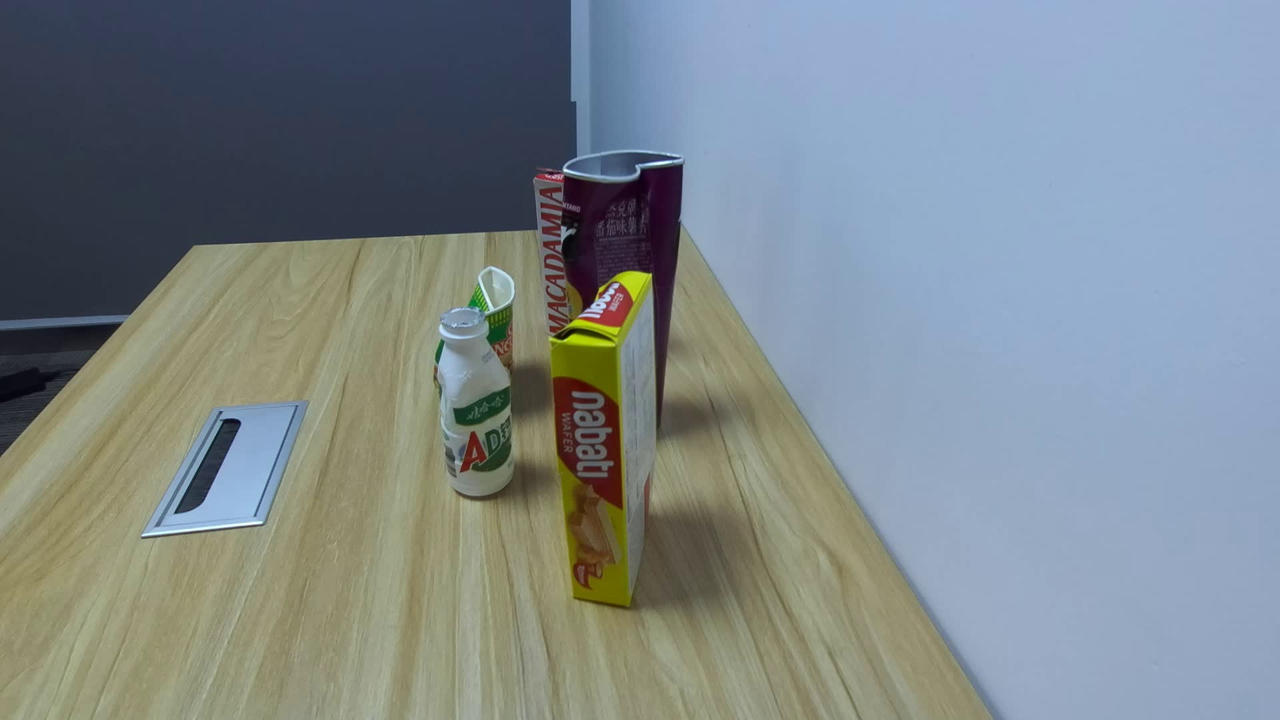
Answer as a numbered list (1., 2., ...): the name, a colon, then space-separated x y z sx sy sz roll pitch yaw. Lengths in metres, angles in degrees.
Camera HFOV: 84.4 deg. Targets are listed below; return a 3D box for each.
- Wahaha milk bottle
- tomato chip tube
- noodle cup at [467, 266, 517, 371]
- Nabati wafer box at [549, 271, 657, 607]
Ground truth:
1. Wahaha milk bottle: -0.125 0.032 0.530 0.055 0.149 0.055 1 32 0
2. tomato chip tube: -0.015 -0.044 0.572 0.077 0.235 0.076 13 34 15
3. noodle cup: -0.148 -0.012 0.625 0.075 0.122 0.083 32 33 29
4. Nabati wafer box: -0.017 0.048 0.453 0.042 0.204 0.107 6 32 10
